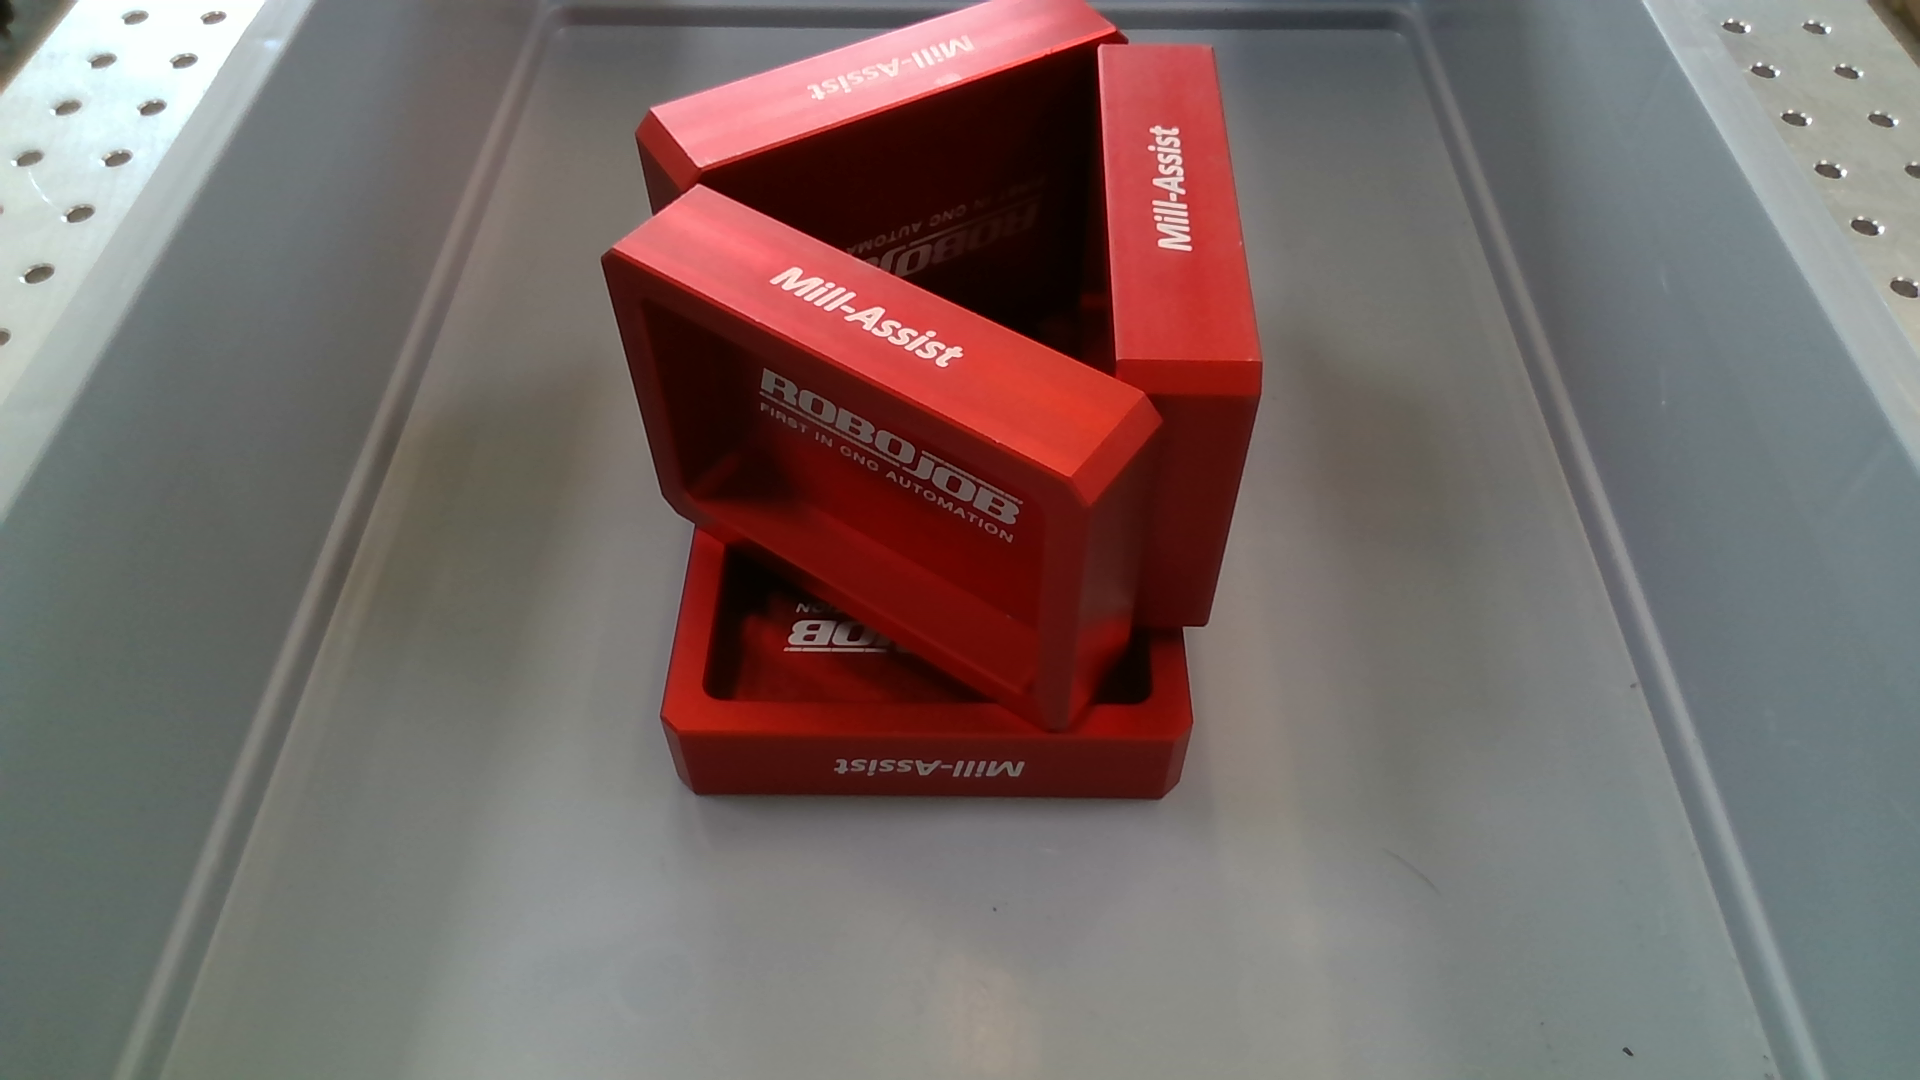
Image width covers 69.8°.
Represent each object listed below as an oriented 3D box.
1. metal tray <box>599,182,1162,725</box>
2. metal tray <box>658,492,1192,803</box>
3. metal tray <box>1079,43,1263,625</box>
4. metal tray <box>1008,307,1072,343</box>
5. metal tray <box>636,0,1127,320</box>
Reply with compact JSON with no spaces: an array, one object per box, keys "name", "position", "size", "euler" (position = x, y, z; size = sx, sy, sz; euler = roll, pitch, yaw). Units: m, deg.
[{"name":"metal tray","position":[-0.020,-0.020,0.326],"size":[0.130,0.090,0.030],"euler":[28,55,22]},{"name":"metal tray","position":[-0.008,0.023,0.371],"size":[0.130,0.030,0.090],"euler":[1,50,0]},{"name":"metal tray","position":[0.049,-0.055,0.355],"size":[0.030,0.090,0.130],"euler":[1,50,1]},{"name":"metal tray","position":[-0.006,-0.047,0.430],"size":[0.130,0.030,0.090],"euler":[1,50,0]},{"name":"metal tray","position":[-0.018,-0.093,0.387],"size":[0.130,0.090,0.030],"euler":[-25,54,-19]}]
